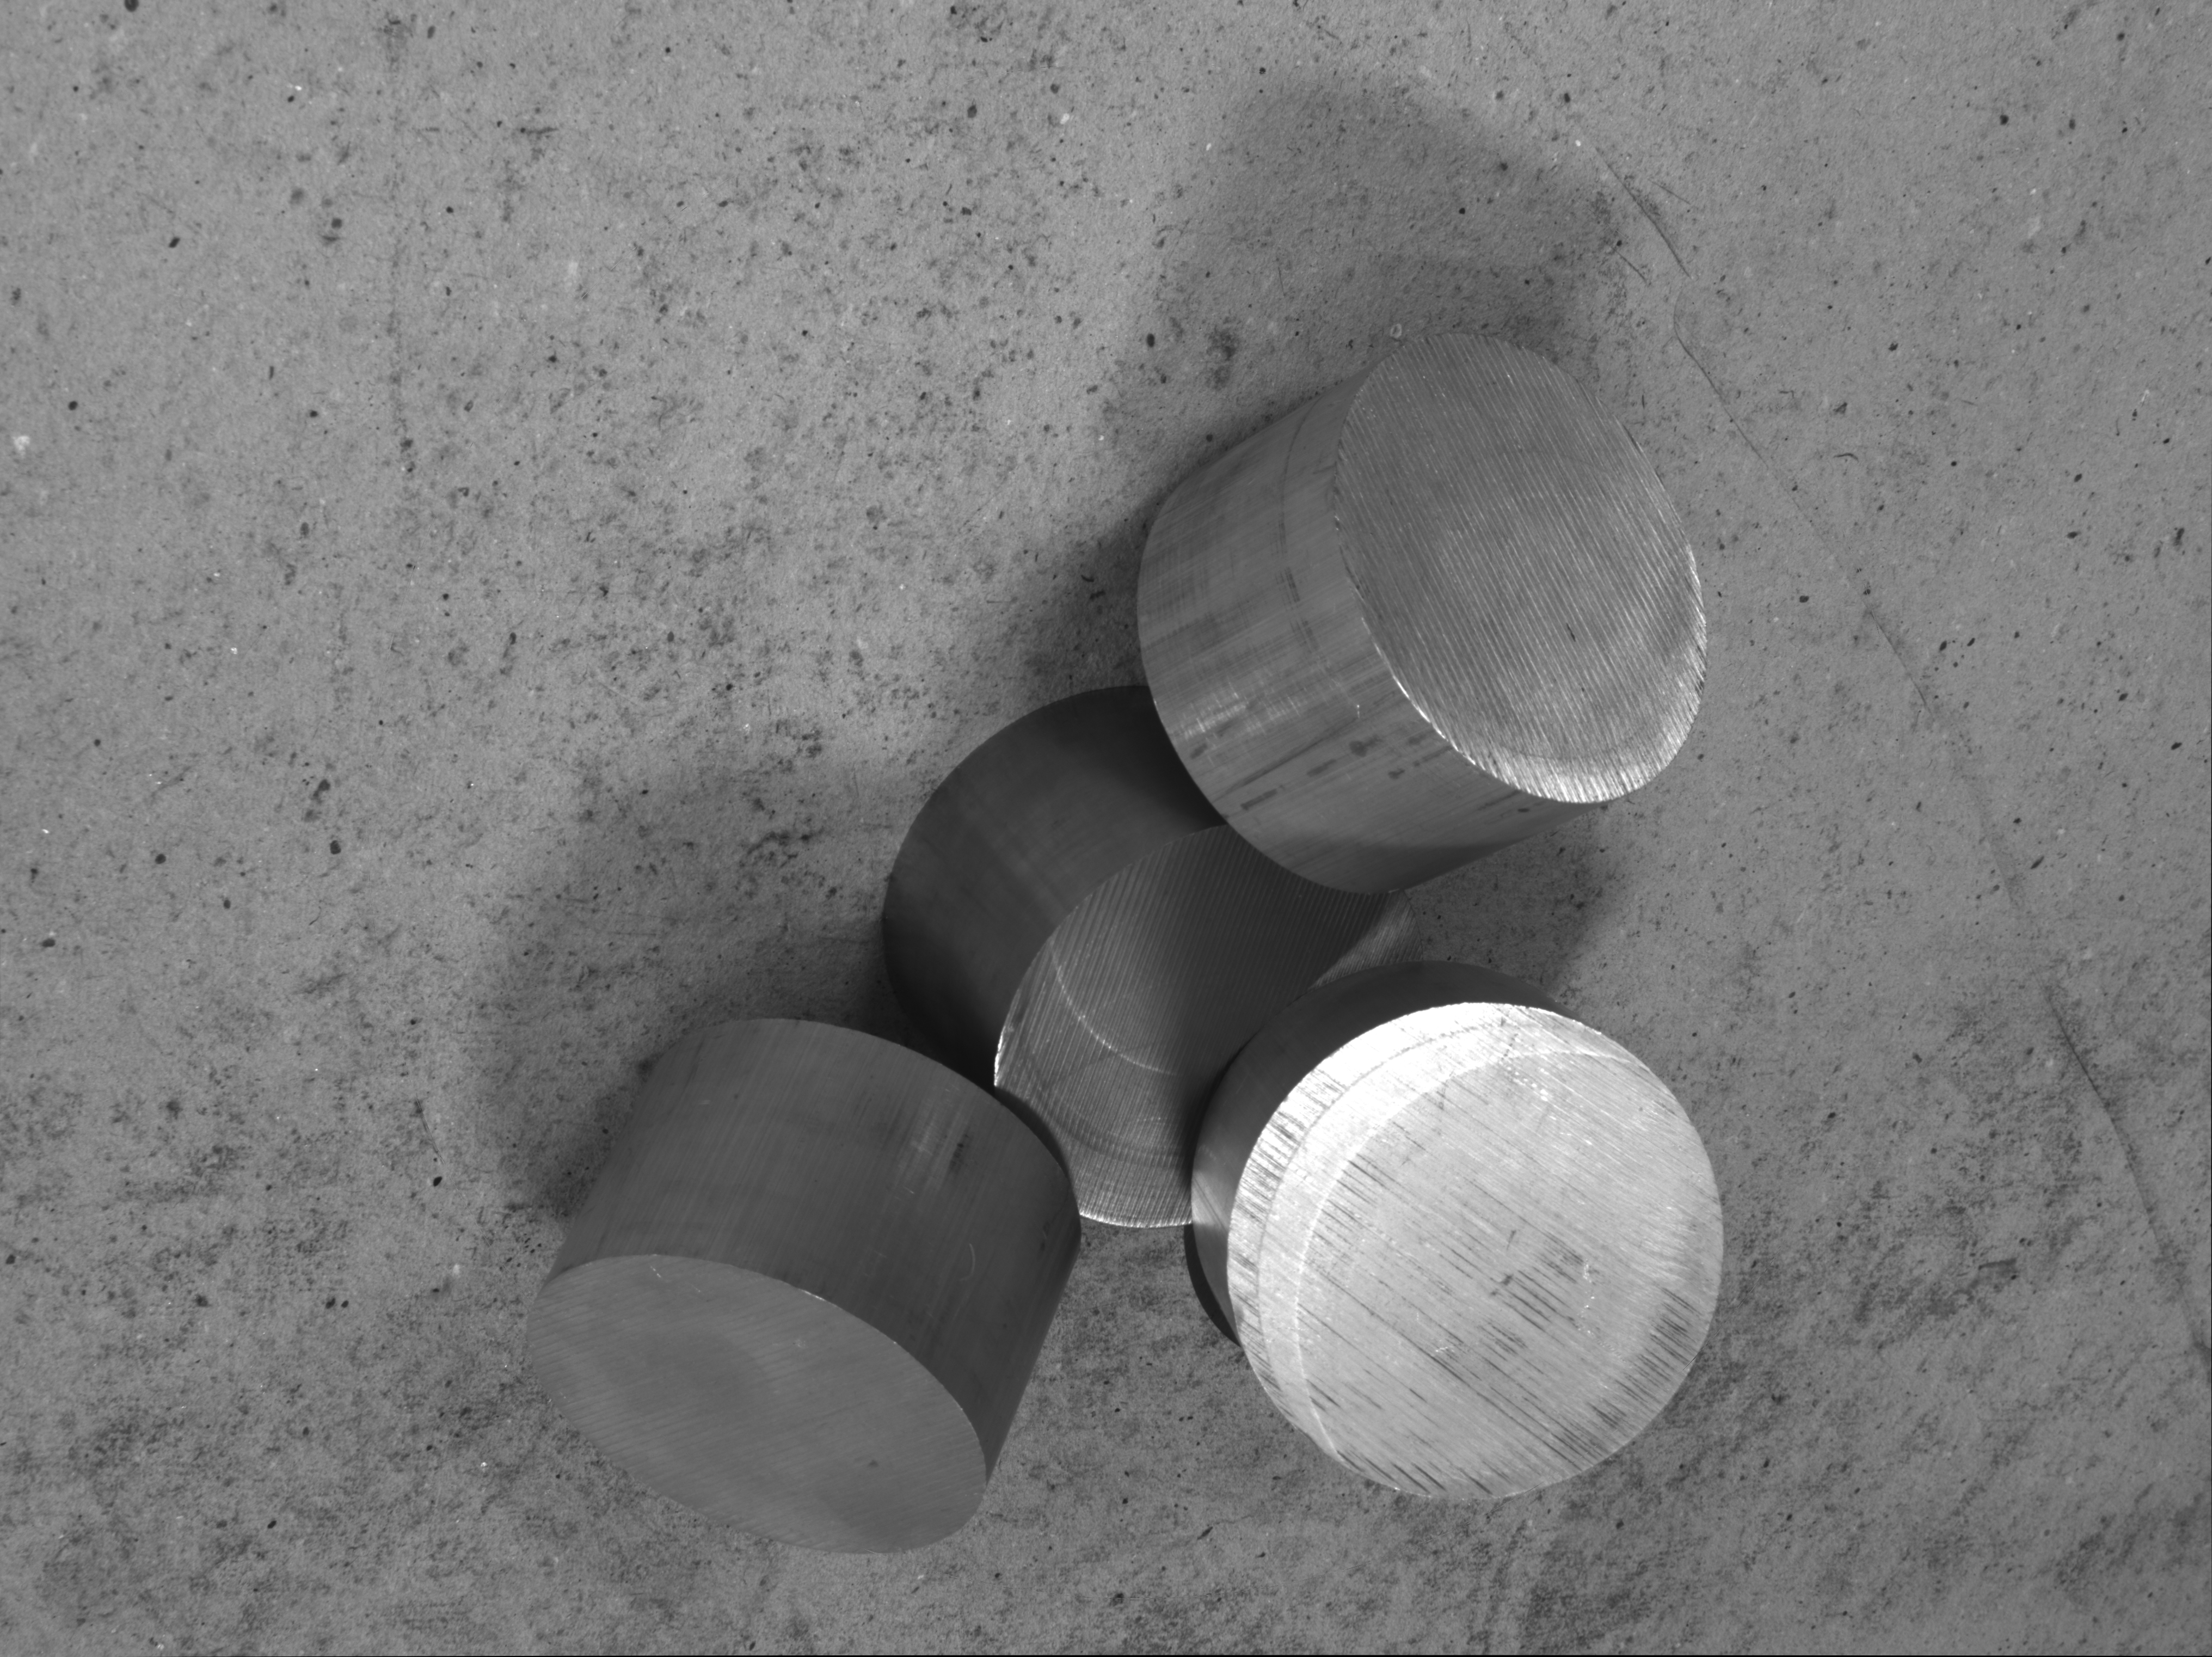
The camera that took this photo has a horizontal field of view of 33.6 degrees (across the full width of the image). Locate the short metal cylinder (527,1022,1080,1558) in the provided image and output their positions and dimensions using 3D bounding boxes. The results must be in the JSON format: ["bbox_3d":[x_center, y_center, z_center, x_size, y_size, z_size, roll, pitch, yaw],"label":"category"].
[{"bbox_3d":[-0.050,0.078,0.615,0.080,0.050,0.080,13,139,12],"label":"short metal cylinder"}]

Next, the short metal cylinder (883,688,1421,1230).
[{"bbox_3d":[0.008,0.022,0.639,0.080,0.050,0.080,-14,123,-21],"label":"short metal cylinder"}]

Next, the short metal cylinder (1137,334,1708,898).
[{"bbox_3d":[0.052,-0.034,0.602,0.080,0.080,0.050,14,154,-34],"label":"short metal cylinder"}]

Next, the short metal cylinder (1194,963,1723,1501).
[{"bbox_3d":[0.056,0.065,0.605,0.080,0.050,0.080,-1,96,-5],"label":"short metal cylinder"}]

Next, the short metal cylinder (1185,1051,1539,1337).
[{"bbox_3d":[0.062,0.073,0.679,0.080,0.080,0.050,-47,129,4],"label":"short metal cylinder"}]
